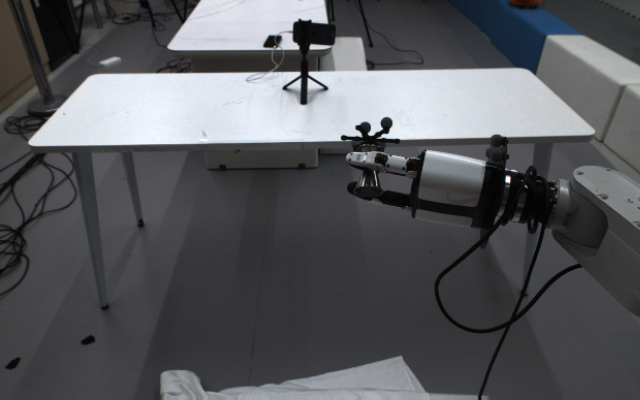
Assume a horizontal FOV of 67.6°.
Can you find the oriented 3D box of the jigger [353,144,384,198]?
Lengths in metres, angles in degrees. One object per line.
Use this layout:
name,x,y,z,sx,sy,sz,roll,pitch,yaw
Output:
jigger,0.071,-0.045,0.720,0.043,0.043,0.071,4,71,2
